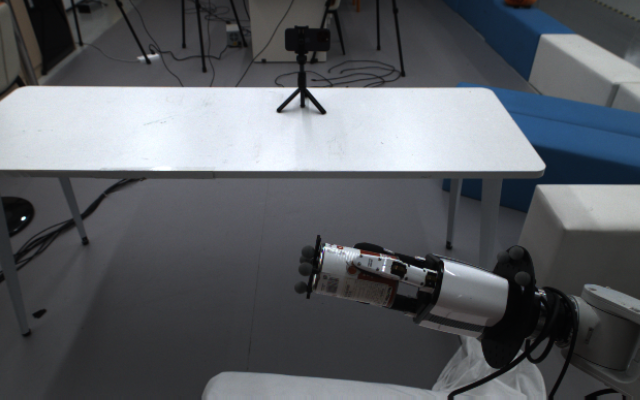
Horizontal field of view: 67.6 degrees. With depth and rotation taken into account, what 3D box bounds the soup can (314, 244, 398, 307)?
[{"bbox_3d":[0.049,0.096,0.629,0.101,0.067,0.067,11,35,-2],"label":"soup can"}]
